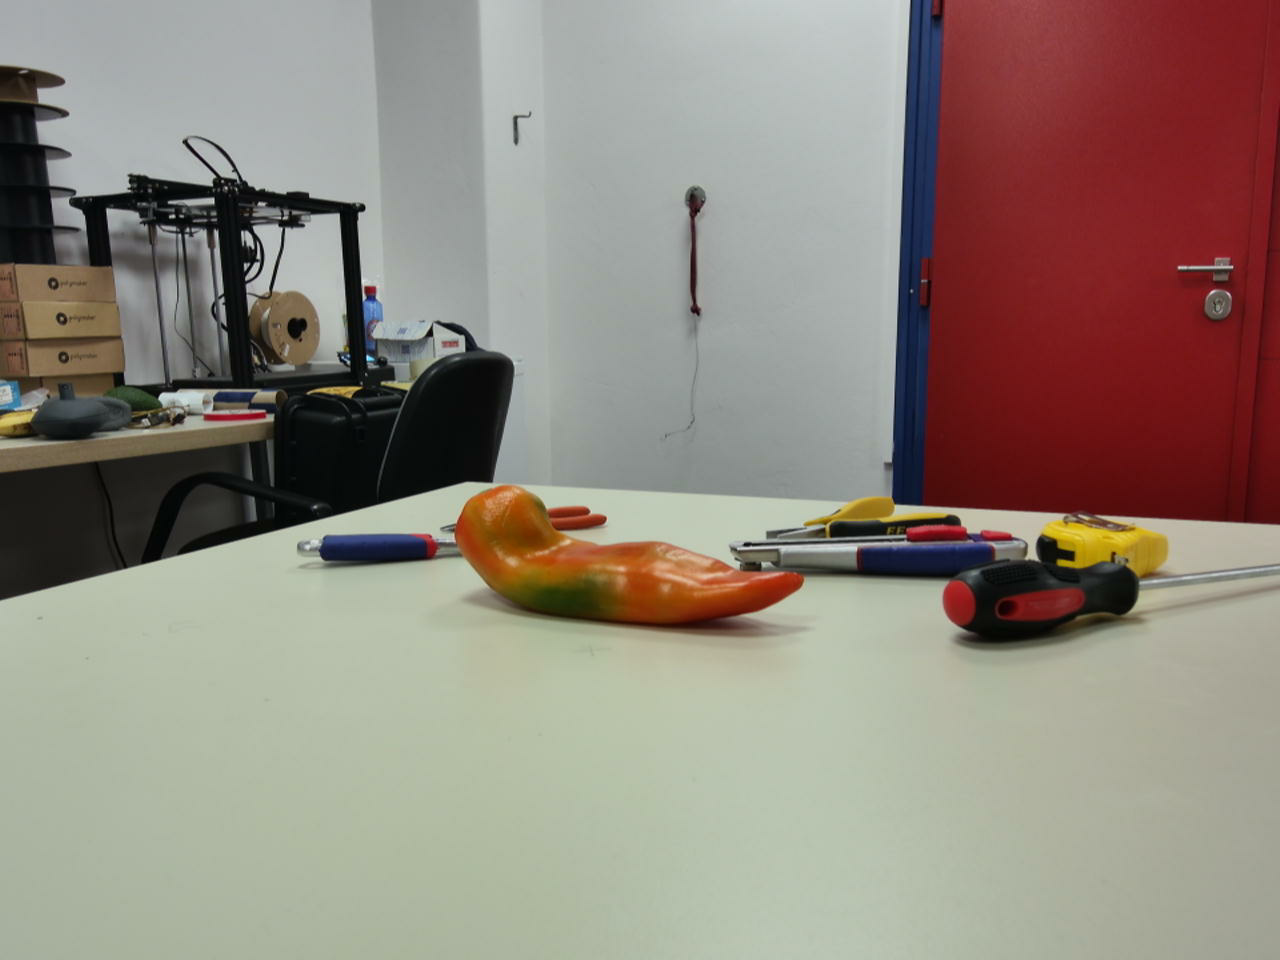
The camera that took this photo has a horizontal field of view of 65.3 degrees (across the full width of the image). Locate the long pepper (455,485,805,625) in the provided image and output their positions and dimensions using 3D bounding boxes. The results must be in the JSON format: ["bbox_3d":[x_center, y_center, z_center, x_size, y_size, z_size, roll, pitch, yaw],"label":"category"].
[{"bbox_3d":[-0.012,0.039,0.529,0.199,0.065,0.066,4,7,29],"label":"long pepper"}]
